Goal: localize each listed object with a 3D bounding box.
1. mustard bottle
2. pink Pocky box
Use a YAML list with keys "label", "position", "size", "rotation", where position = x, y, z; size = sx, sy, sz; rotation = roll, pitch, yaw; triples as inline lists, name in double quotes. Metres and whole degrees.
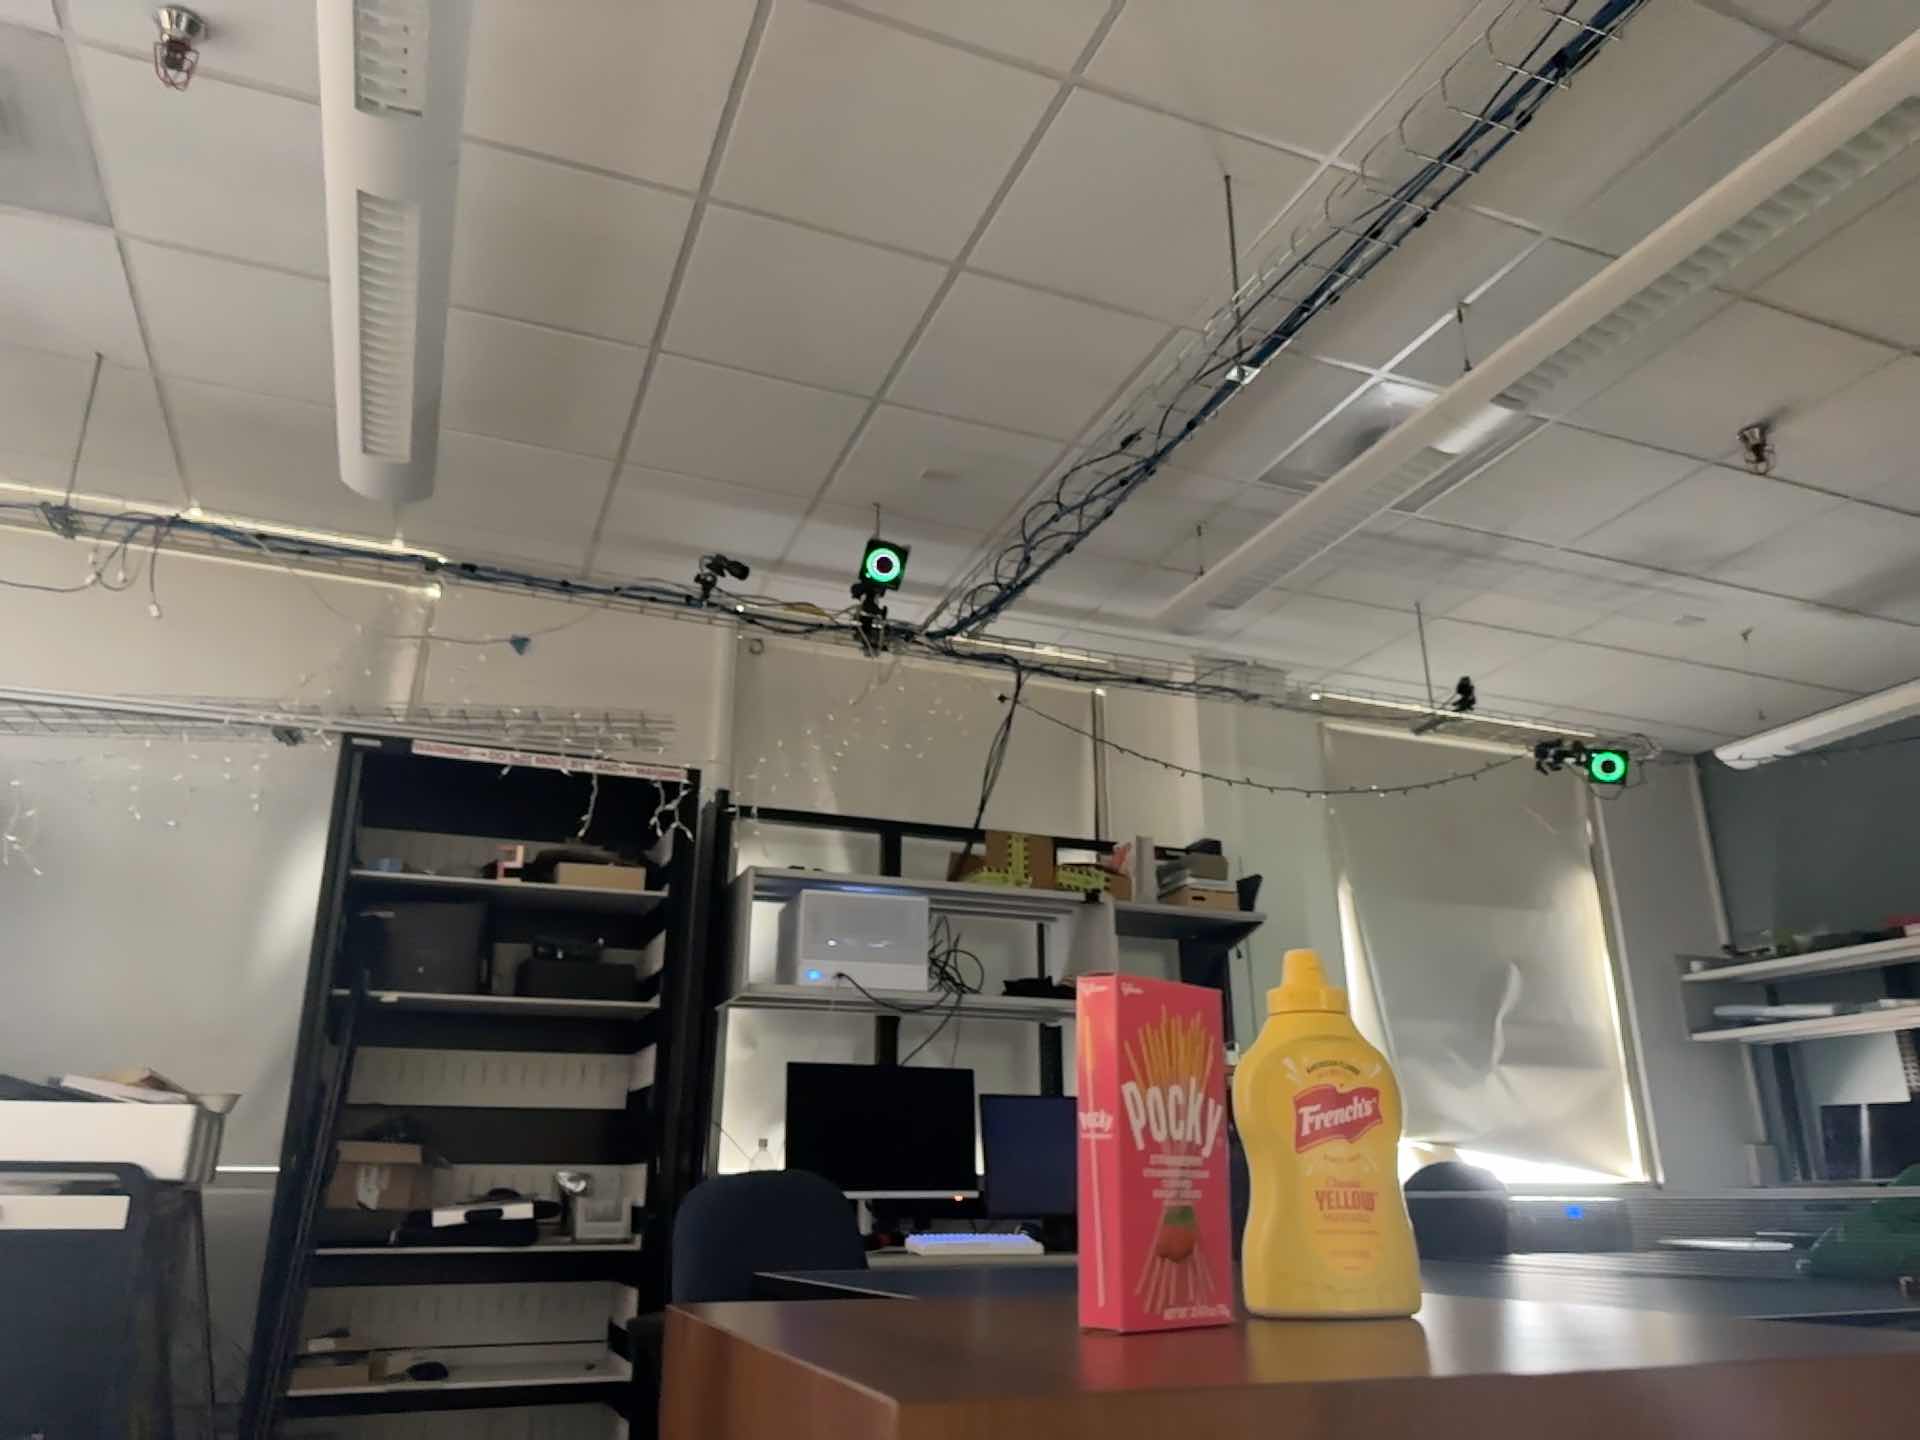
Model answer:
- label: "mustard bottle"
  position: [0.183, 0.206, 0.694]
  size: [0.092, 0.184, 0.054]
  rotation: [5, -15, -15]
- label: "pink Pocky box"
  position: [0.088, 0.197, 0.623]
  size: [0.084, 0.154, 0.029]
  rotation: [14, -22, -34]
